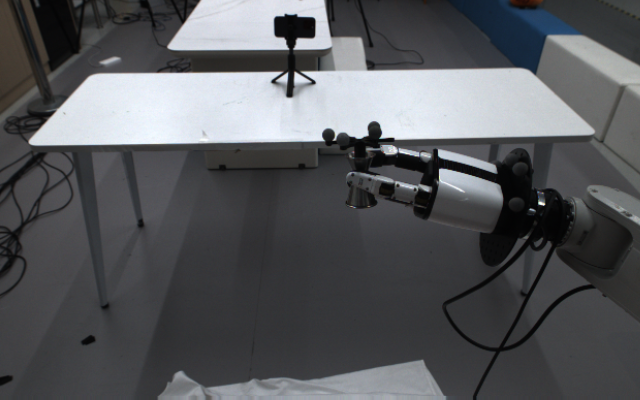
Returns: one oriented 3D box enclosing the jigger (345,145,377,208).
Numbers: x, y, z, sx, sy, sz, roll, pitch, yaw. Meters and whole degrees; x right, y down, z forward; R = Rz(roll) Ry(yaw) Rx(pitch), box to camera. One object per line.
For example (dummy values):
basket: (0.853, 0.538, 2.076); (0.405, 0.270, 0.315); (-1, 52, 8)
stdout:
jigger: (0.054, -0.028, 0.643); (0.043, 0.071, 0.043); (-2, 19, 1)
